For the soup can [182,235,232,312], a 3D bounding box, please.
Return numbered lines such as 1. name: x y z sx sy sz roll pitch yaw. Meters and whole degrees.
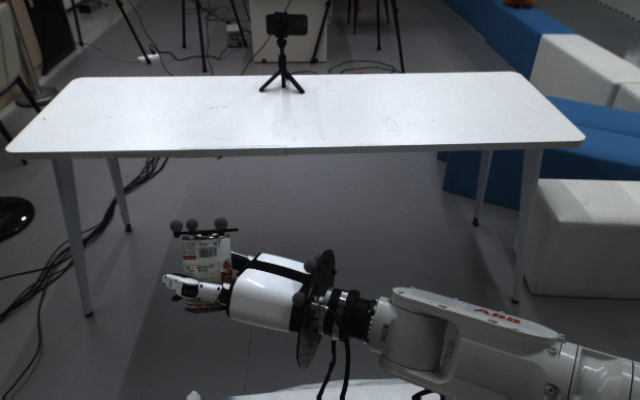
1. soup can: -0.155 0.101 0.670 0.067 0.101 0.067 -3 -2 0
